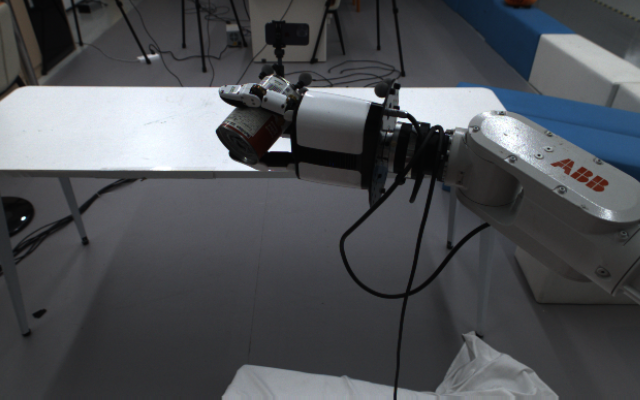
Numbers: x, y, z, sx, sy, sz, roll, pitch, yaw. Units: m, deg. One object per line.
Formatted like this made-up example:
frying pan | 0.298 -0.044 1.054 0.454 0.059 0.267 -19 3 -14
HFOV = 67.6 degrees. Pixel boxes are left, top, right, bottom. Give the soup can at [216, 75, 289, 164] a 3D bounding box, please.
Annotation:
soup can | -0.077 -0.105 0.628 0.067 0.067 0.101 25 66 29
